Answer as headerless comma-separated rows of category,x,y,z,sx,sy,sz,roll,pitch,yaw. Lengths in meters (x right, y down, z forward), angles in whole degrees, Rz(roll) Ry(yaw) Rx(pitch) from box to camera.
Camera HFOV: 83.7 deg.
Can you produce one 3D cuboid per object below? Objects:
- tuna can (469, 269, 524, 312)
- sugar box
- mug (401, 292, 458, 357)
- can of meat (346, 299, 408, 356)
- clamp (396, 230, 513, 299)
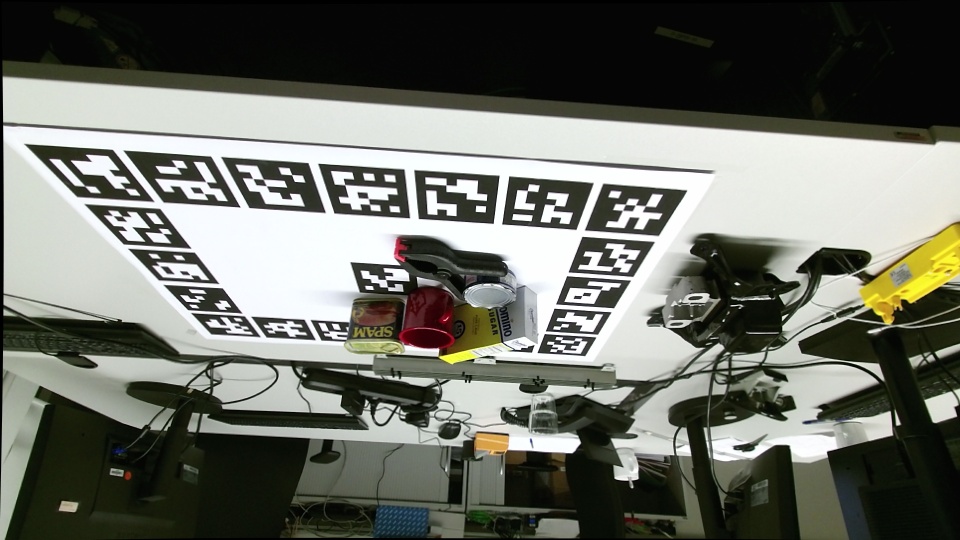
tuna can,0.026,0.029,0.840,0.086,0.033,0.086,2,145,1
sugar box,0.017,0.096,0.901,0.177,0.092,0.045,-18,143,31
mug,-0.075,0.084,0.885,0.094,0.081,0.117,19,142,-22
can of meat,-0.178,0.099,0.929,0.102,0.083,0.058,0,148,7
clamp,-0.049,-0.010,0.795,0.166,0.036,0.122,29,144,-27
